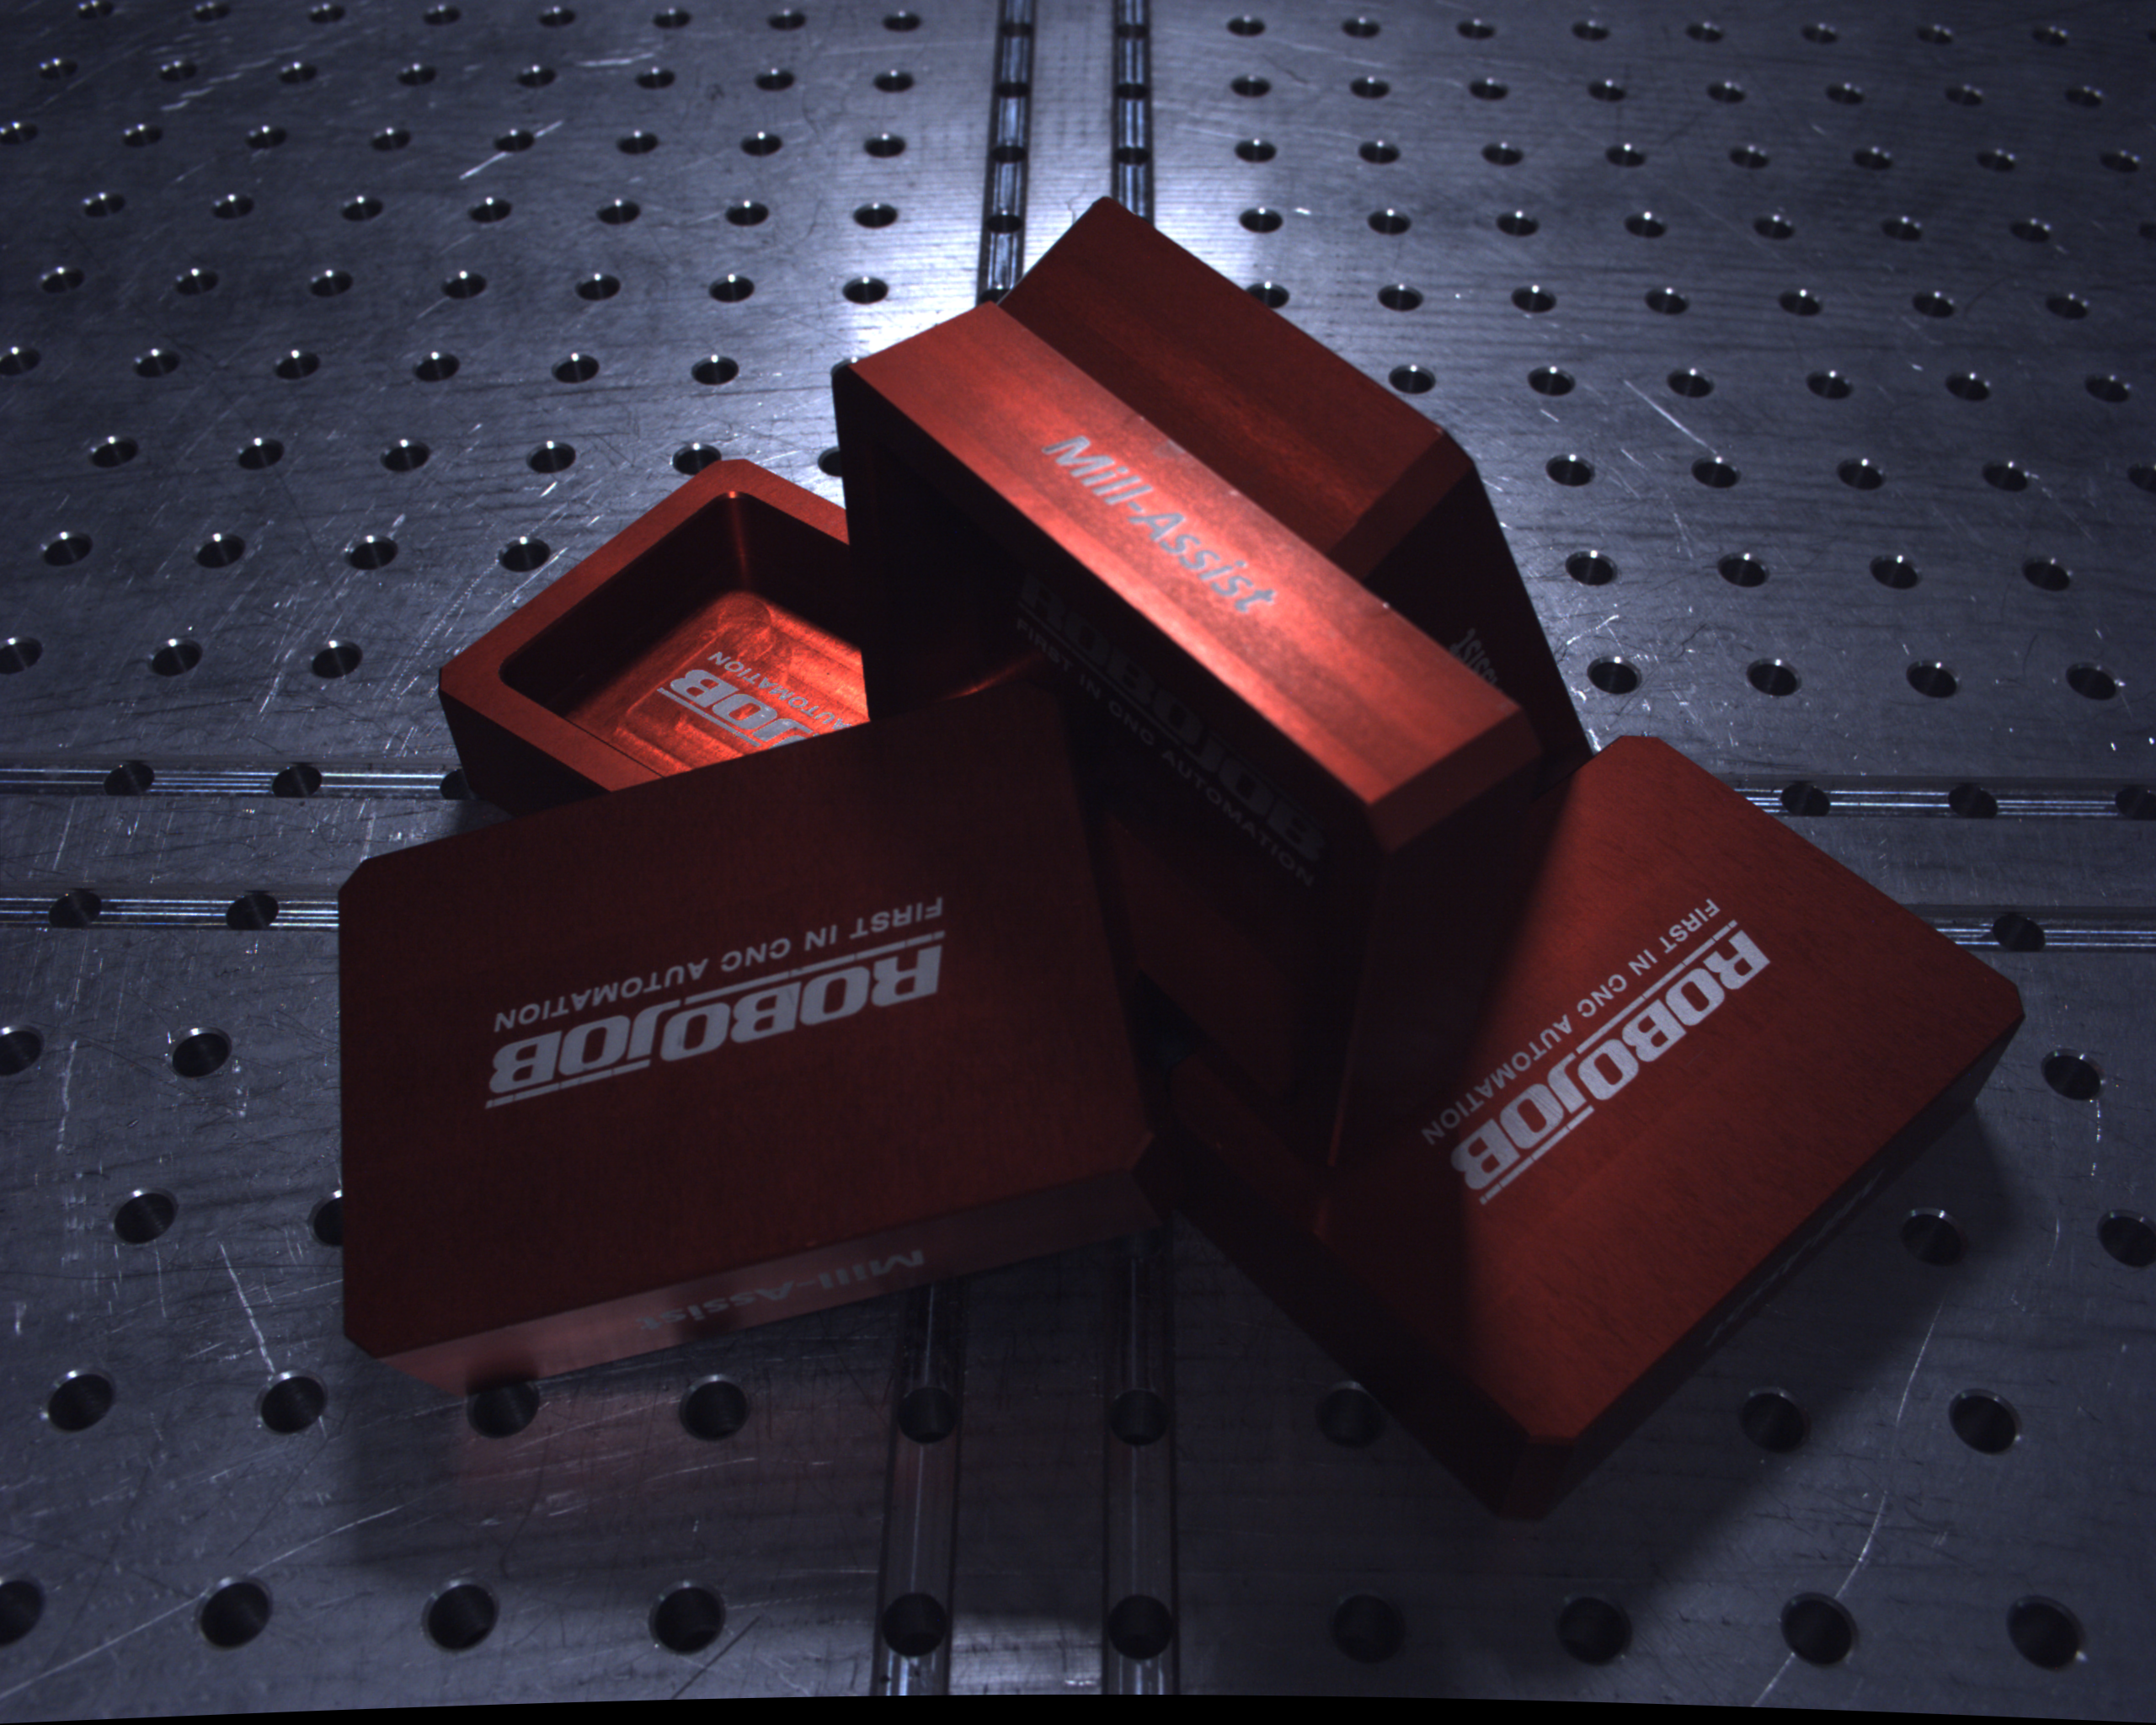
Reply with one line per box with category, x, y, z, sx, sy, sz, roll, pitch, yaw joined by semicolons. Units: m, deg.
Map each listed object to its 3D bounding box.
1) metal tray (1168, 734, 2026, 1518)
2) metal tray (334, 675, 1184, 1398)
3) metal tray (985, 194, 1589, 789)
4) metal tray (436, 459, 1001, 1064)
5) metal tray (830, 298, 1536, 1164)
metal tray;0.090;0.040;0.370;0.131;0.030;0.090;-34;58;-26
metal tray;-0.056;0.028;0.349;0.131;0.030;0.090;-15;61;6
metal tray;0.043;-0.057;0.389;0.030;0.130;0.090;-47;60;1
metal tray;-0.051;-0.025;0.424;0.130;0.030;0.090;29;56;22
metal tray;0.011;-0.022;0.345;0.030;0.089;0.130;-31;57;-24
